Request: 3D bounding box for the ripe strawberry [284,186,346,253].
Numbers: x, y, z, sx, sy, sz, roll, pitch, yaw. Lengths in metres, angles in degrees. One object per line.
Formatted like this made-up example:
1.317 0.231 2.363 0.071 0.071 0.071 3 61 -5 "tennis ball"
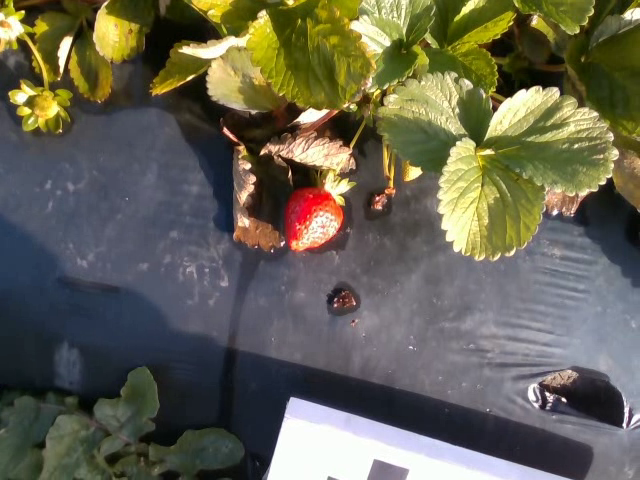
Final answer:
-0.008 -0.004 0.340 0.047 0.054 0.038 34 -21 -8 "ripe strawberry"
